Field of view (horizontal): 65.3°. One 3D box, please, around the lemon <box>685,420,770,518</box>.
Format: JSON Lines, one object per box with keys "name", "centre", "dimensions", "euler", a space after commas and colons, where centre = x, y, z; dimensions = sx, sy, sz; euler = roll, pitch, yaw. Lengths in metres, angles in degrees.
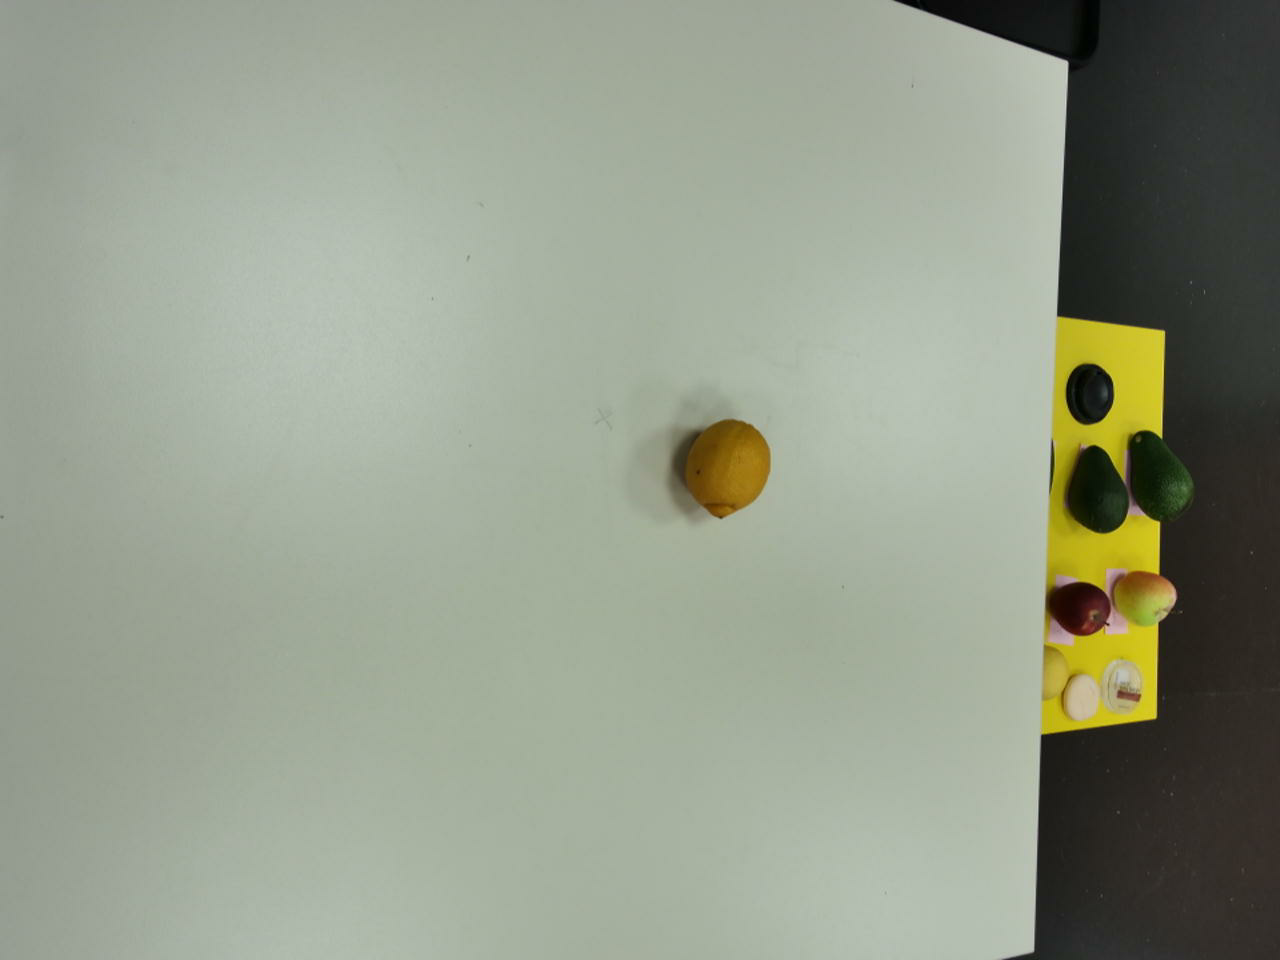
{"name": "lemon", "centre": [0.063, -0.010, 0.721], "dimensions": [0.061, 0.059, 0.066], "euler": [48, 69, -19]}
